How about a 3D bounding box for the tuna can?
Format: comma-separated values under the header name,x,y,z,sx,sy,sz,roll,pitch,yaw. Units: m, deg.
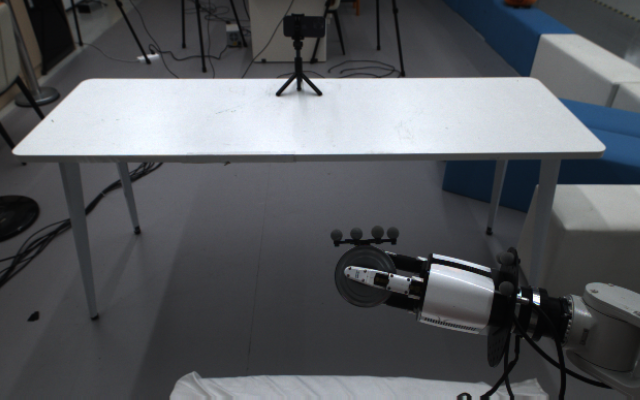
name,x,y,z,sx,sy,sz,roll,pitch,yaw
tuna can,0.066,0.105,0.673,0.085,0.034,0.085,-2,79,10
